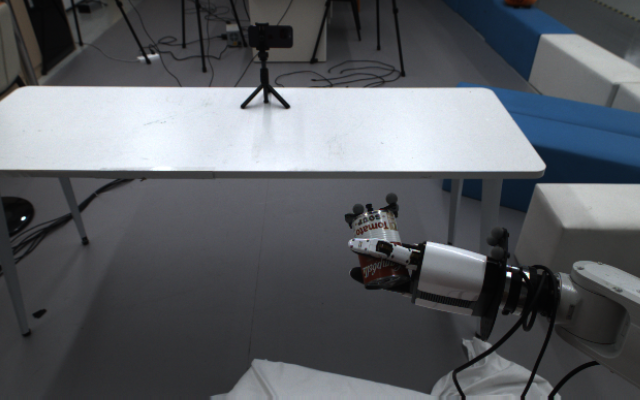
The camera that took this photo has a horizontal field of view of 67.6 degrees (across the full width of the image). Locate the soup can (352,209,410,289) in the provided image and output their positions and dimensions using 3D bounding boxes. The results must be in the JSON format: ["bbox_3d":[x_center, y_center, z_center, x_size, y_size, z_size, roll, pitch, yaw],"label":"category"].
[{"bbox_3d":[0.090,0.073,0.711,0.067,0.067,0.101,-6,68,-12],"label":"soup can"}]
